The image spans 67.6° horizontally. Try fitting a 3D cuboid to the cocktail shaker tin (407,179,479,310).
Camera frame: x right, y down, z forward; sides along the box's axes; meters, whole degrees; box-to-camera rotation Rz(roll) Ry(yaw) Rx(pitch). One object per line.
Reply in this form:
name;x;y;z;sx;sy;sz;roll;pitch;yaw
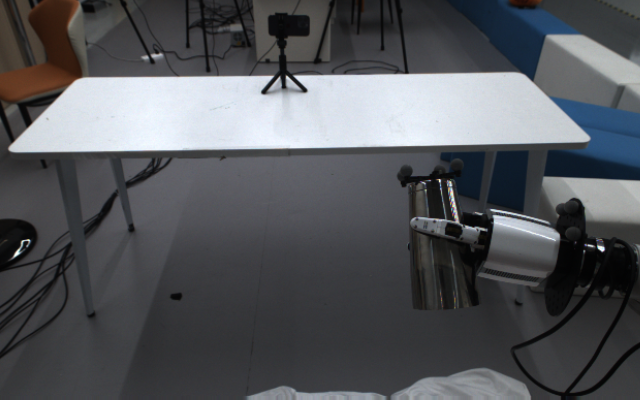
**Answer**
cocktail shaker tin;0.166;0.060;0.672;0.093;0.170;0.093;-6;-7;-1
